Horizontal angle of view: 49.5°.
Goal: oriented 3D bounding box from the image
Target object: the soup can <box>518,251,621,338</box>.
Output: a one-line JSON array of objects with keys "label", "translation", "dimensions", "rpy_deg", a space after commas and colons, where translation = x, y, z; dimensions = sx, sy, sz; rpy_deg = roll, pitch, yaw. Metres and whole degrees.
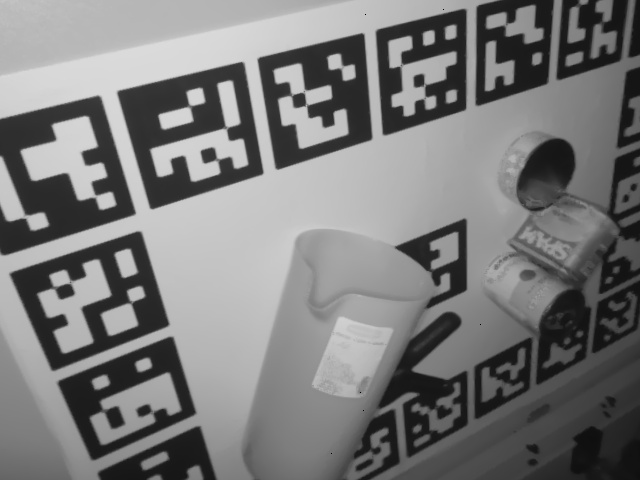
[{"label": "soup can", "translation": [0.286, 0.060, 0.807], "dimensions": [0.069, 0.101, 0.067], "rpy_deg": [-12, 116, -25]}]

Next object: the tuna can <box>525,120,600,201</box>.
[{"label": "tuna can", "translation": [0.270, -0.089, 0.769], "dimensions": [0.087, 0.033, 0.085], "rpy_deg": [-11, 115, -24]}]

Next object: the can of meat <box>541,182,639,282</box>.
[{"label": "can of meat", "translation": [0.317, -0.013, 0.785], "dimensions": [0.058, 0.101, 0.084], "rpy_deg": [36, 90, -34]}]

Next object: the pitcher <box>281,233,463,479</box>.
[{"label": "pitcher", "translation": [0.046, 0.122, 0.679], "dimensions": [0.192, 0.132, 0.240], "rpy_deg": [-15, 128, -47]}]

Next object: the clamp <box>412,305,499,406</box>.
[{"label": "clamp", "translation": [0.140, 0.151, 0.819], "dimensions": [0.167, 0.036, 0.121], "rpy_deg": [-19, 124, -16]}]
